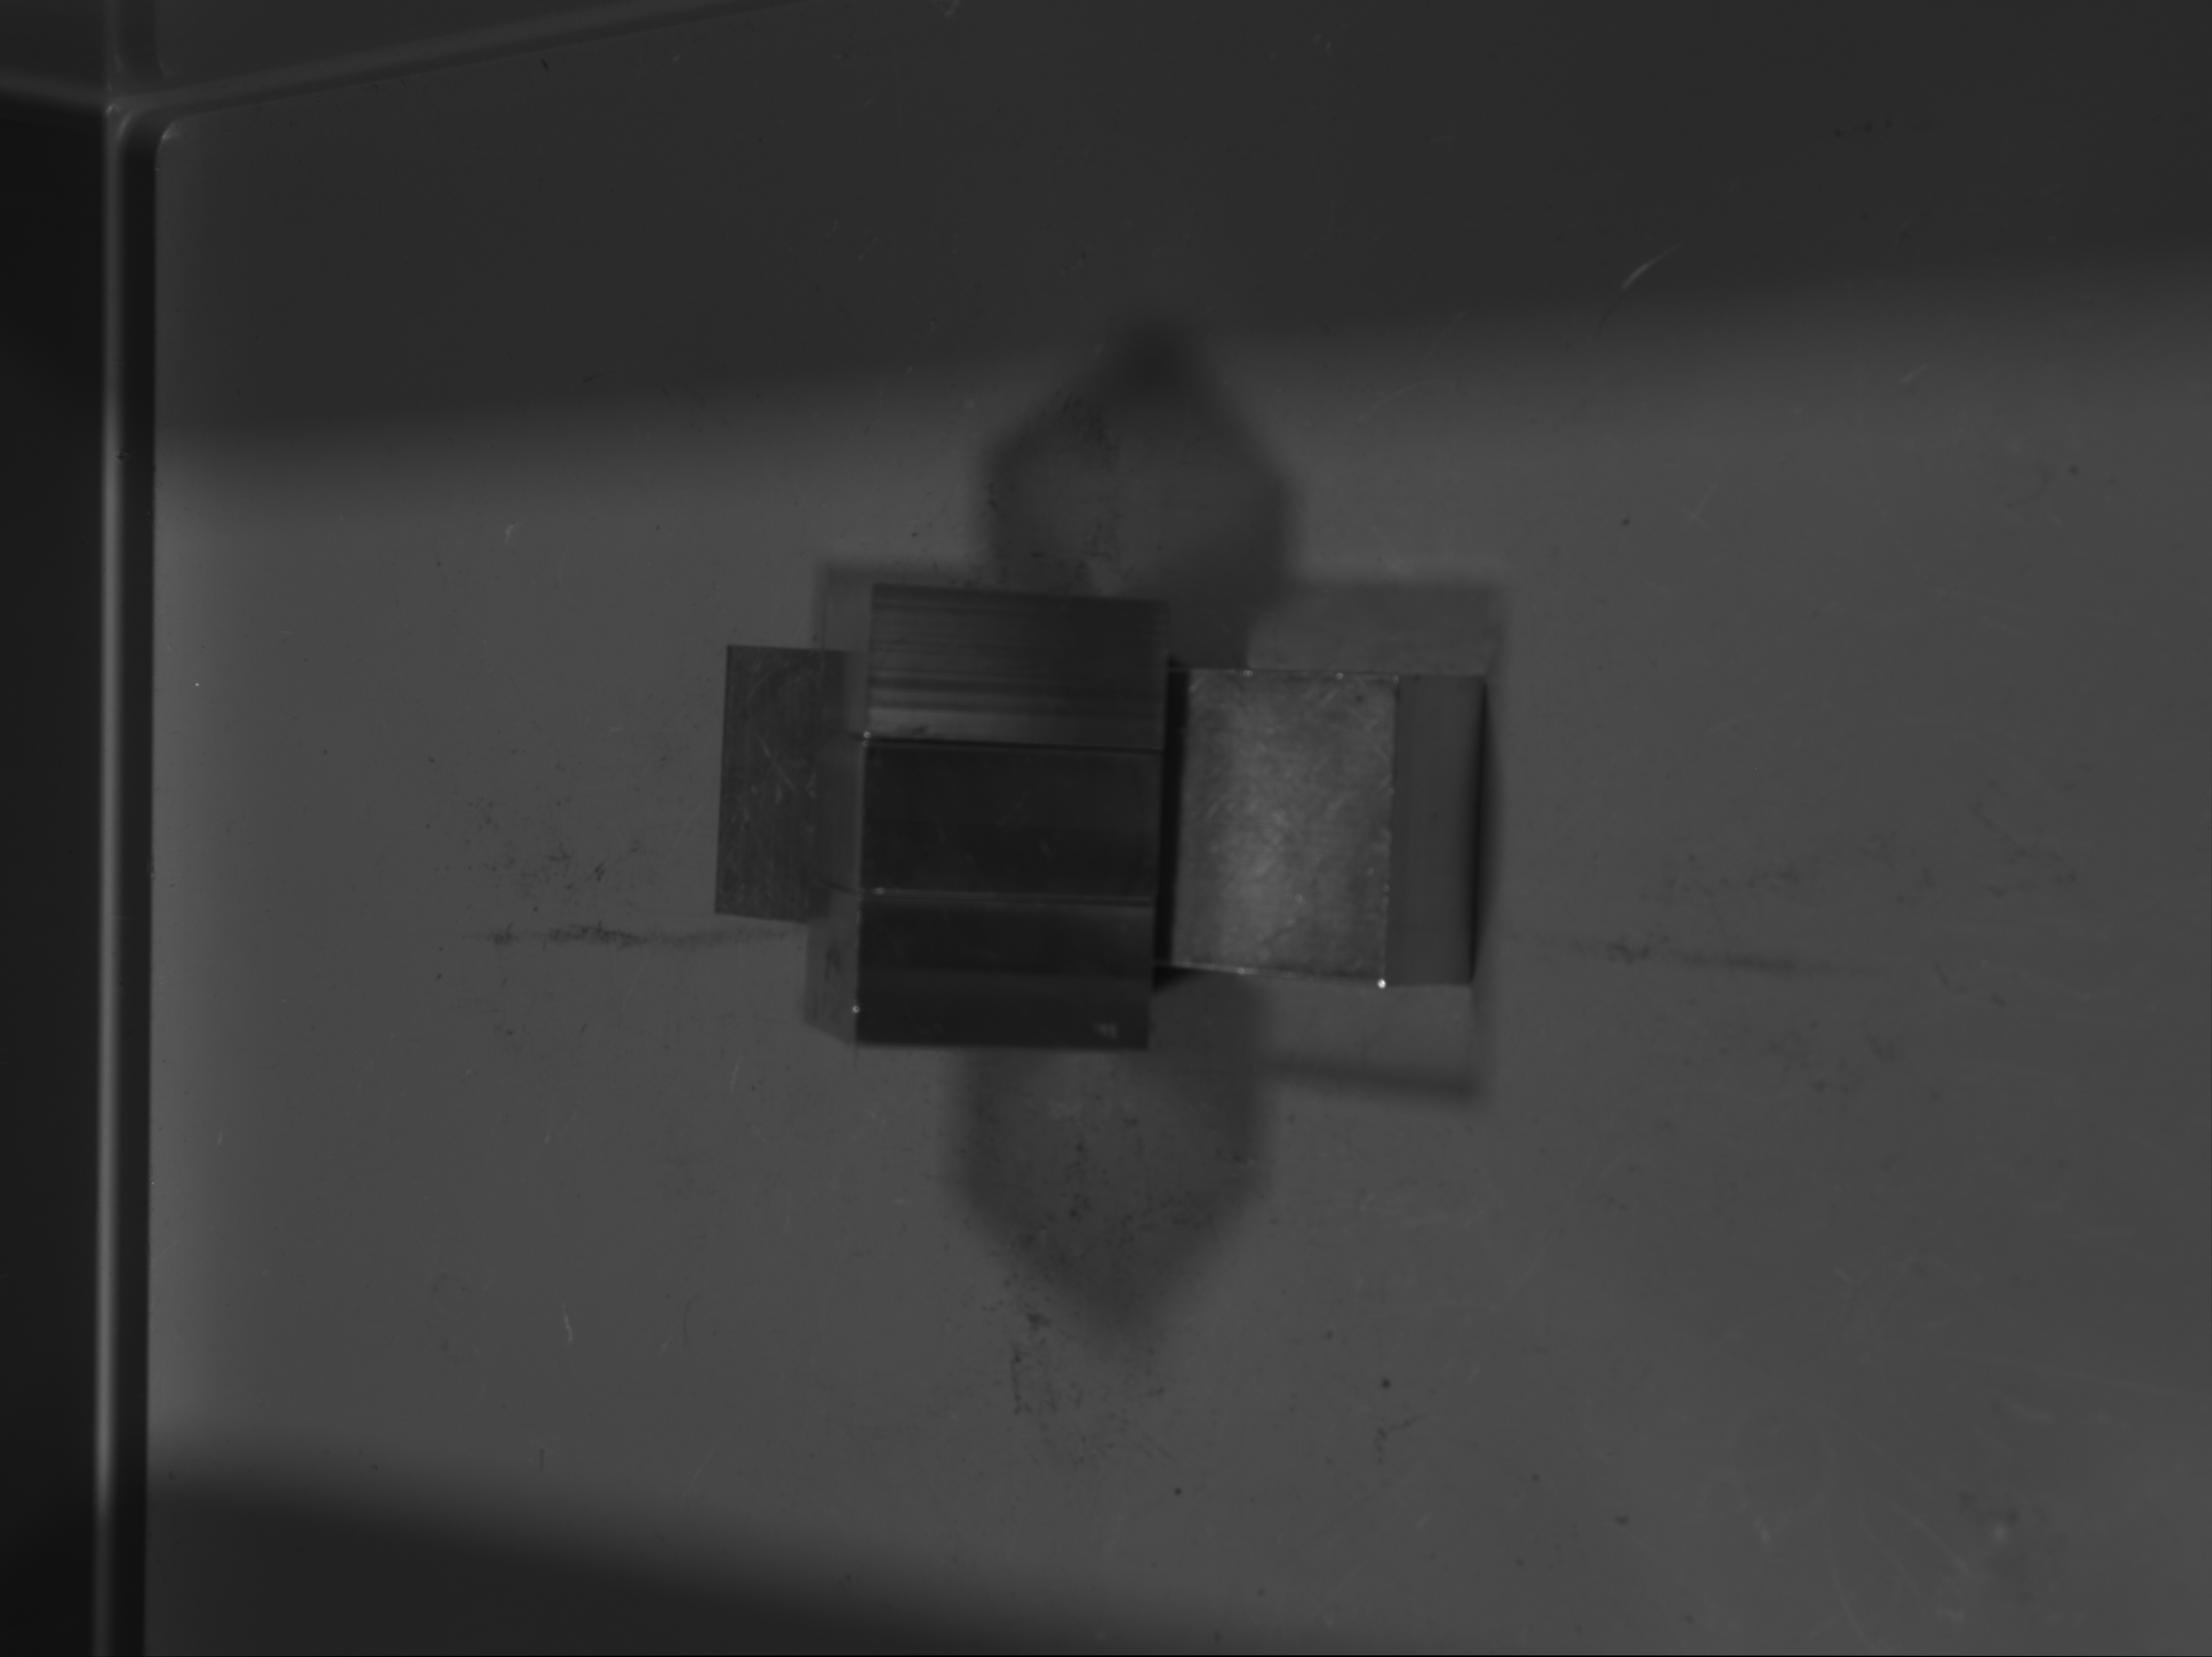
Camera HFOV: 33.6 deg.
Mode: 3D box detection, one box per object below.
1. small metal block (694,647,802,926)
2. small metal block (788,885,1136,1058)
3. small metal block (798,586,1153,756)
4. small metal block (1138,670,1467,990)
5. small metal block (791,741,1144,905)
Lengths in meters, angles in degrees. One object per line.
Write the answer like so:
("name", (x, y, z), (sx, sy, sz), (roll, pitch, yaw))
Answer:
("small metal block", (-0.048, -0.007, 0.674), (0.050, 0.025, 0.050), (5, 93, 39))
("small metal block", (-0.026, 0.024, 0.627), (0.050, 0.050, 0.025), (-174, 86, -76))
("small metal block", (-0.023, -0.027, 0.624), (0.050, 0.050, 0.025), (-171, 84, -76))
("small metal block", (0.031, 0.000, 0.610), (0.050, 0.025, 0.050), (4, 92, 39))
("small metal block", (-0.025, -0.001, 0.626), (0.050, 0.050, 0.025), (-174, 86, -76))
